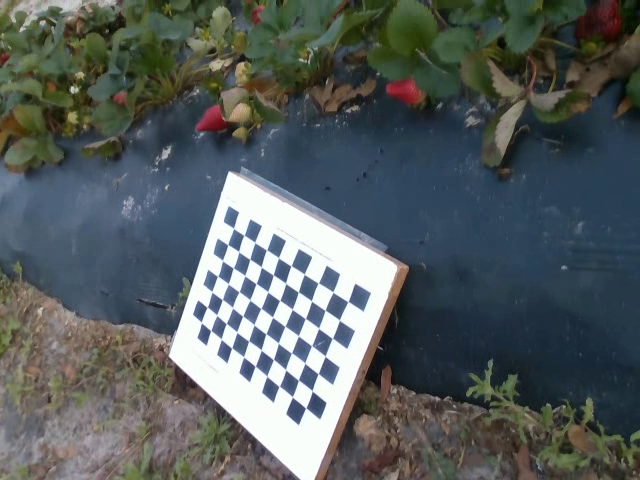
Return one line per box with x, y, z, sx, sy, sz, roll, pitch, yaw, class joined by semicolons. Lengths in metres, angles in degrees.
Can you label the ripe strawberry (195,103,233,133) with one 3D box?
-0.158;-0.174;0.952;0.050;0.034;0.059;16;49;42;ripe strawberry
